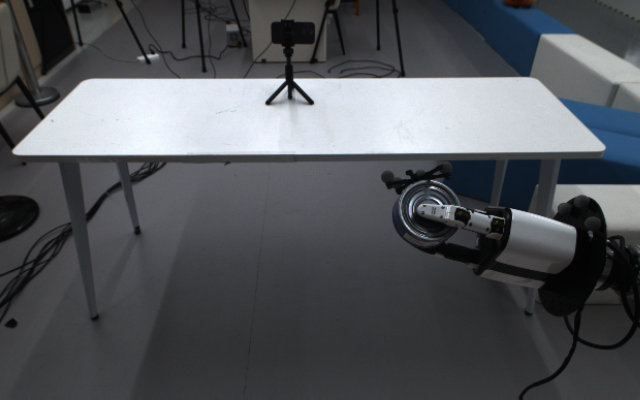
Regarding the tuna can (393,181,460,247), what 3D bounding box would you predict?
[{"bbox_3d":[0.142,0.015,0.633,0.085,0.034,0.085,0,72,-1],"label":"tuna can"}]
